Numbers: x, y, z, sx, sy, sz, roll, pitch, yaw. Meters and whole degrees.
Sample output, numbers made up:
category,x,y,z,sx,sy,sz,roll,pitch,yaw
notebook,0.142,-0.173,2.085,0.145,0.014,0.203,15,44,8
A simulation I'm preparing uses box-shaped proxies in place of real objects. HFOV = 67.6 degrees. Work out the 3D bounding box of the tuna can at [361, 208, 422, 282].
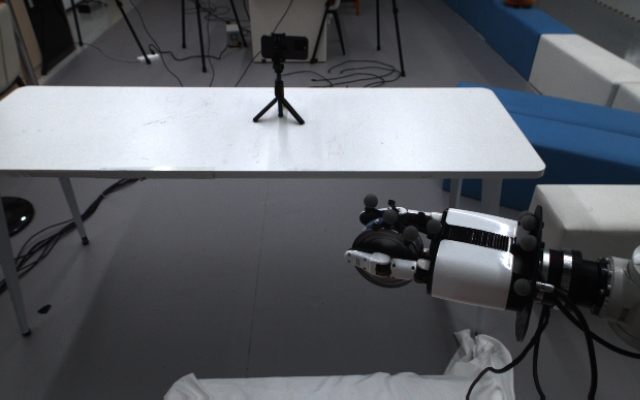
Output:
category,x,y,z,sx,sy,sz,roll,pitch,yaw
tuna can,0.088,0.063,0.605,0.085,0.085,0.034,16,29,19
